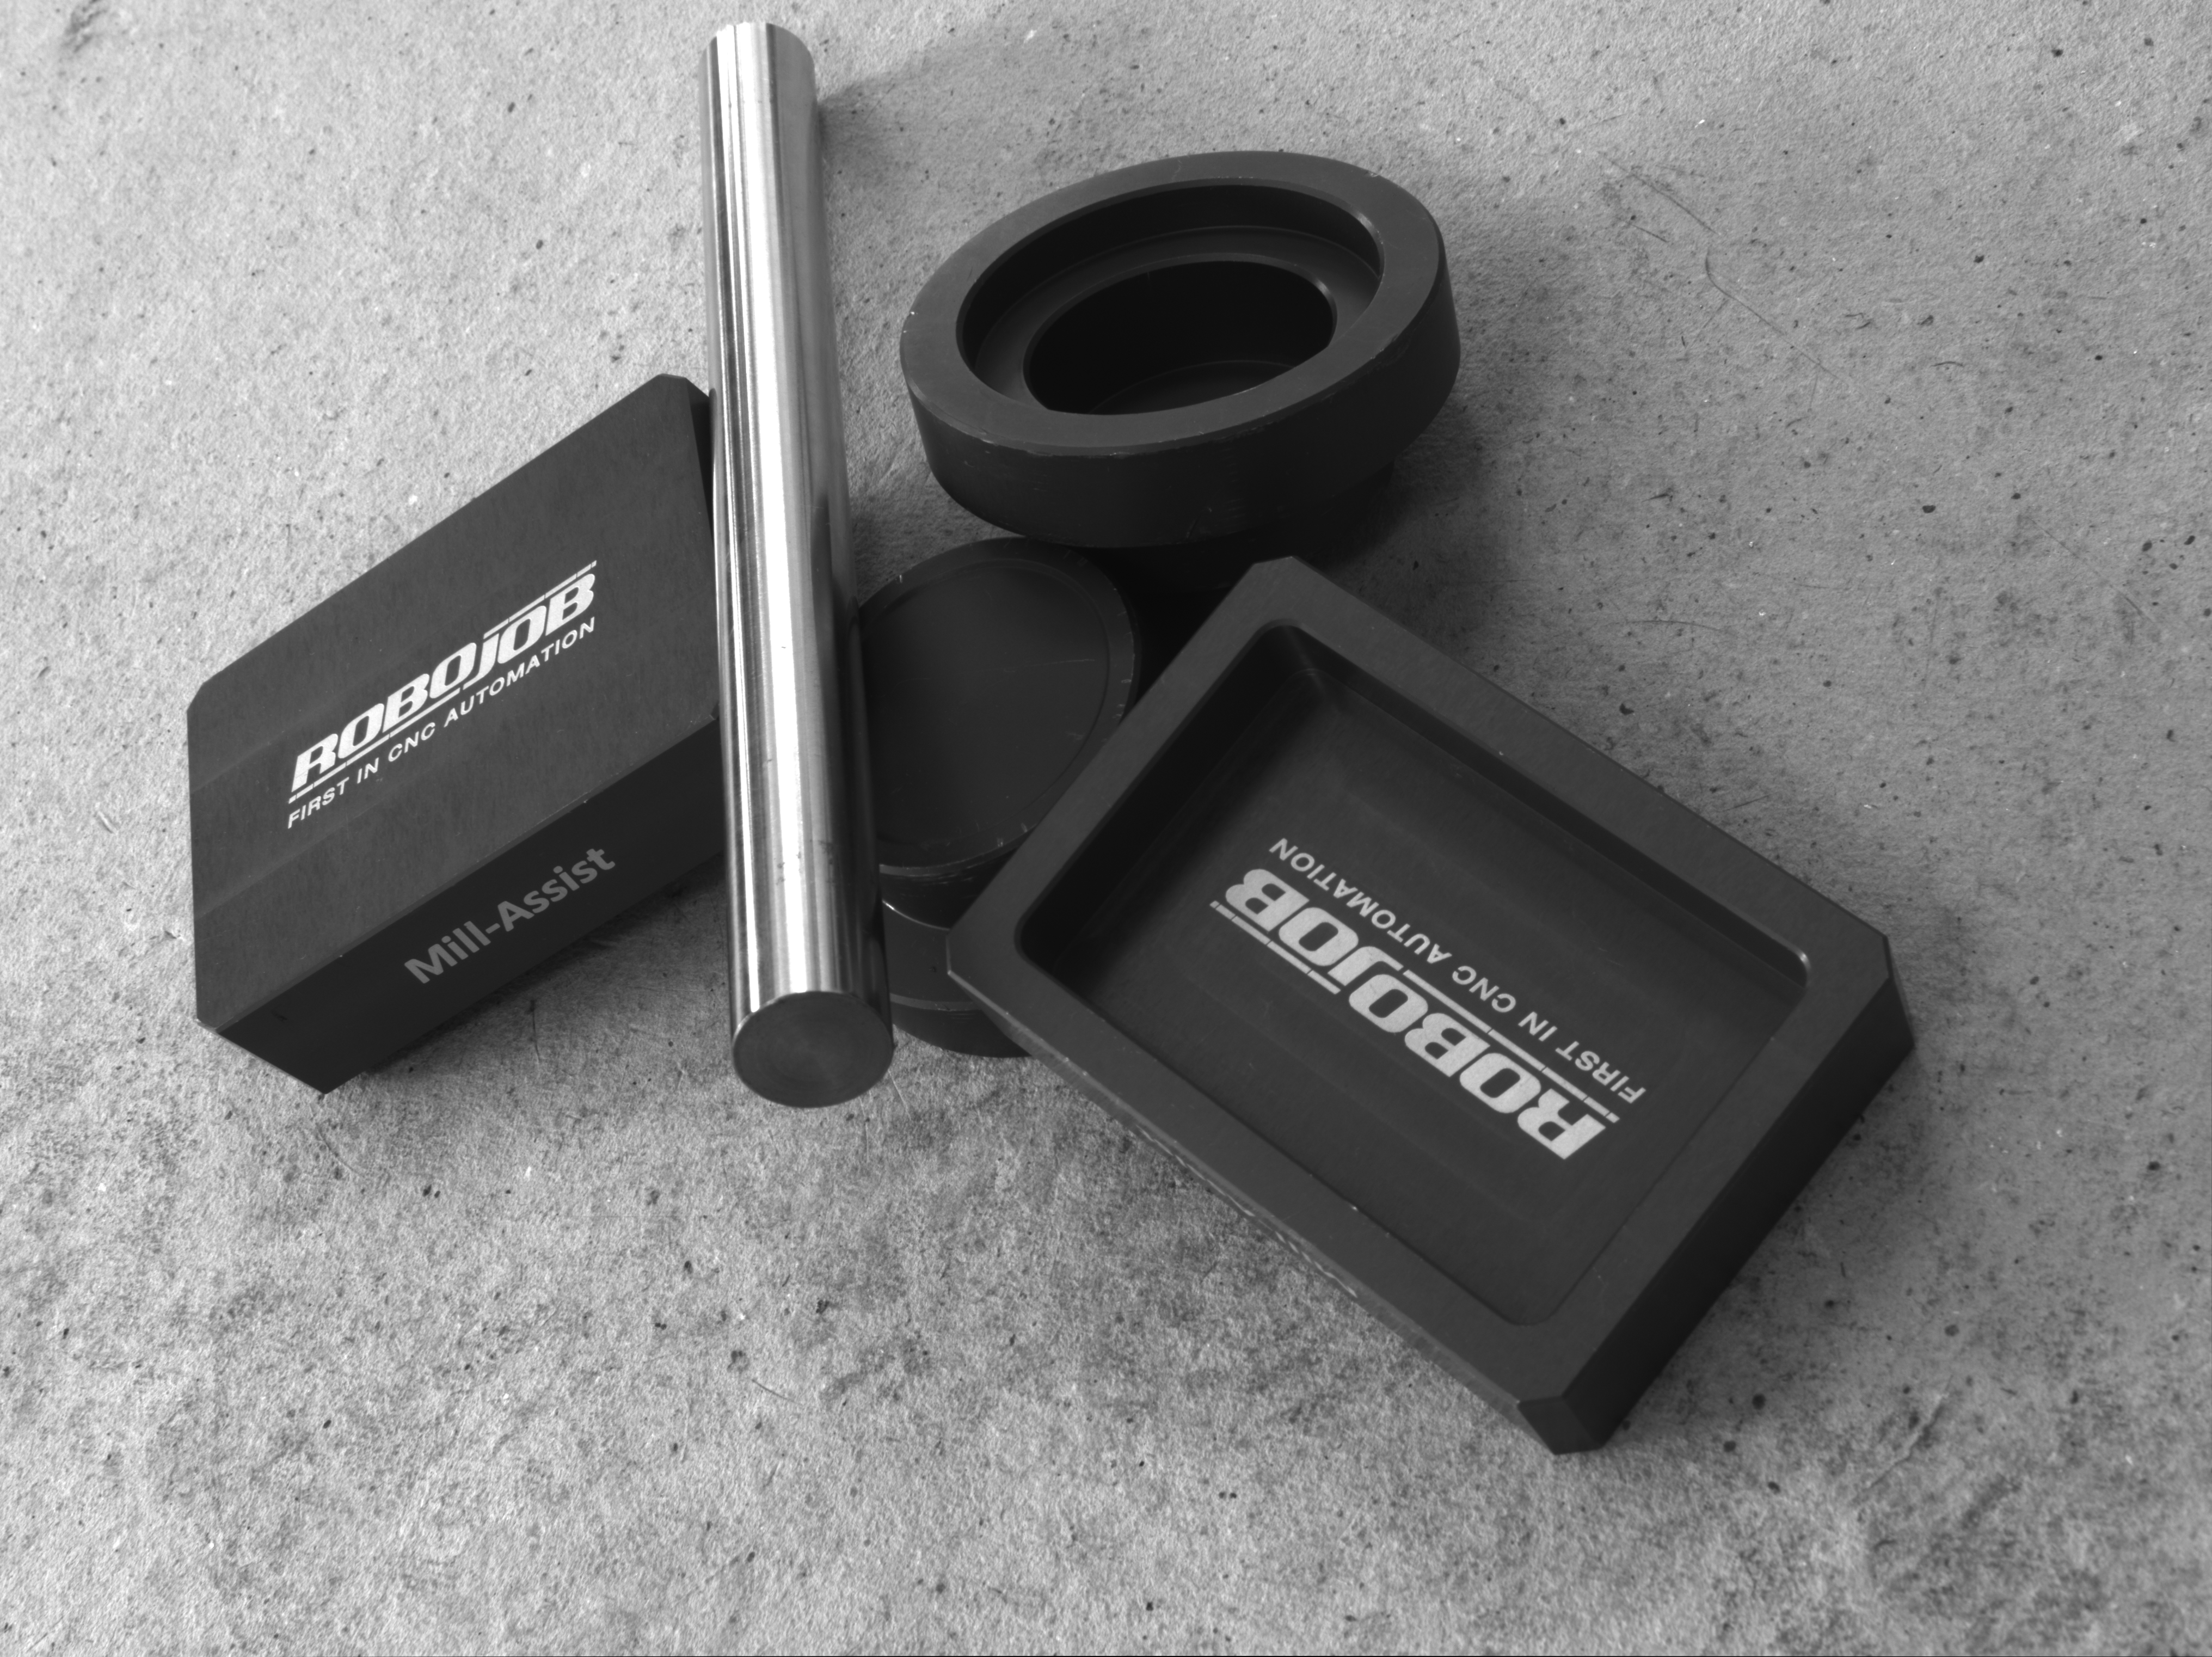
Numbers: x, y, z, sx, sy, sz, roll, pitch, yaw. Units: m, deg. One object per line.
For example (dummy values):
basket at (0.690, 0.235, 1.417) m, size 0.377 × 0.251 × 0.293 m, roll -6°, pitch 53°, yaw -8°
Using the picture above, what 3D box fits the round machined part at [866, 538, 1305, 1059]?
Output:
round machined part at (-0.017, -0.012, 0.652) m, size 0.098 × 0.042 × 0.098 m, roll -14°, pitch 56°, yaw 21°

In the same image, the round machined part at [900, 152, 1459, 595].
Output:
round machined part at (0.015, -0.079, 0.661) m, size 0.098 × 0.042 × 0.098 m, roll -9°, pitch 38°, yaw 8°

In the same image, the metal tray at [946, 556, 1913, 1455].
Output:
metal tray at (0.050, 0.026, 0.586) m, size 0.130 × 0.030 × 0.090 m, roll 36°, pitch 81°, yaw 28°

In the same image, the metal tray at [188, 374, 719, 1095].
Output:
metal tray at (-0.117, -0.018, 0.703) m, size 0.130 × 0.030 × 0.090 m, roll -31°, pitch 48°, yaw 20°

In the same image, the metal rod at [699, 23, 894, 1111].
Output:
metal rod at (-0.060, -0.063, 0.674) m, size 0.025 × 0.025 × 0.300 m, roll -24°, pitch 39°, yaw 13°
